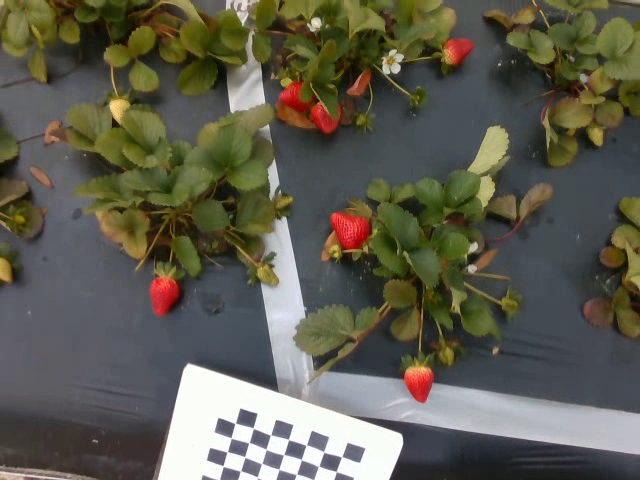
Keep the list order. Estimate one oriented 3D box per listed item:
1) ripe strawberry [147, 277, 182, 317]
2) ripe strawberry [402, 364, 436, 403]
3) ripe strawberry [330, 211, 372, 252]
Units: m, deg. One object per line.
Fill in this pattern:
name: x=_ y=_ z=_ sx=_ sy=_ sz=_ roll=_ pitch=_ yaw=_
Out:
ripe strawberry: x=-0.172 y=0.059 z=0.714 sx=0.036 sy=0.046 sz=0.040 roll=8 pitch=-26 yaw=12
ripe strawberry: x=0.115 y=0.157 z=0.762 sx=0.039 sy=0.047 sz=0.041 roll=-13 pitch=10 yaw=18
ripe strawberry: x=0.036 y=-0.015 z=0.768 sx=0.062 sy=0.043 sz=0.043 roll=39 pitch=23 yaw=-2
